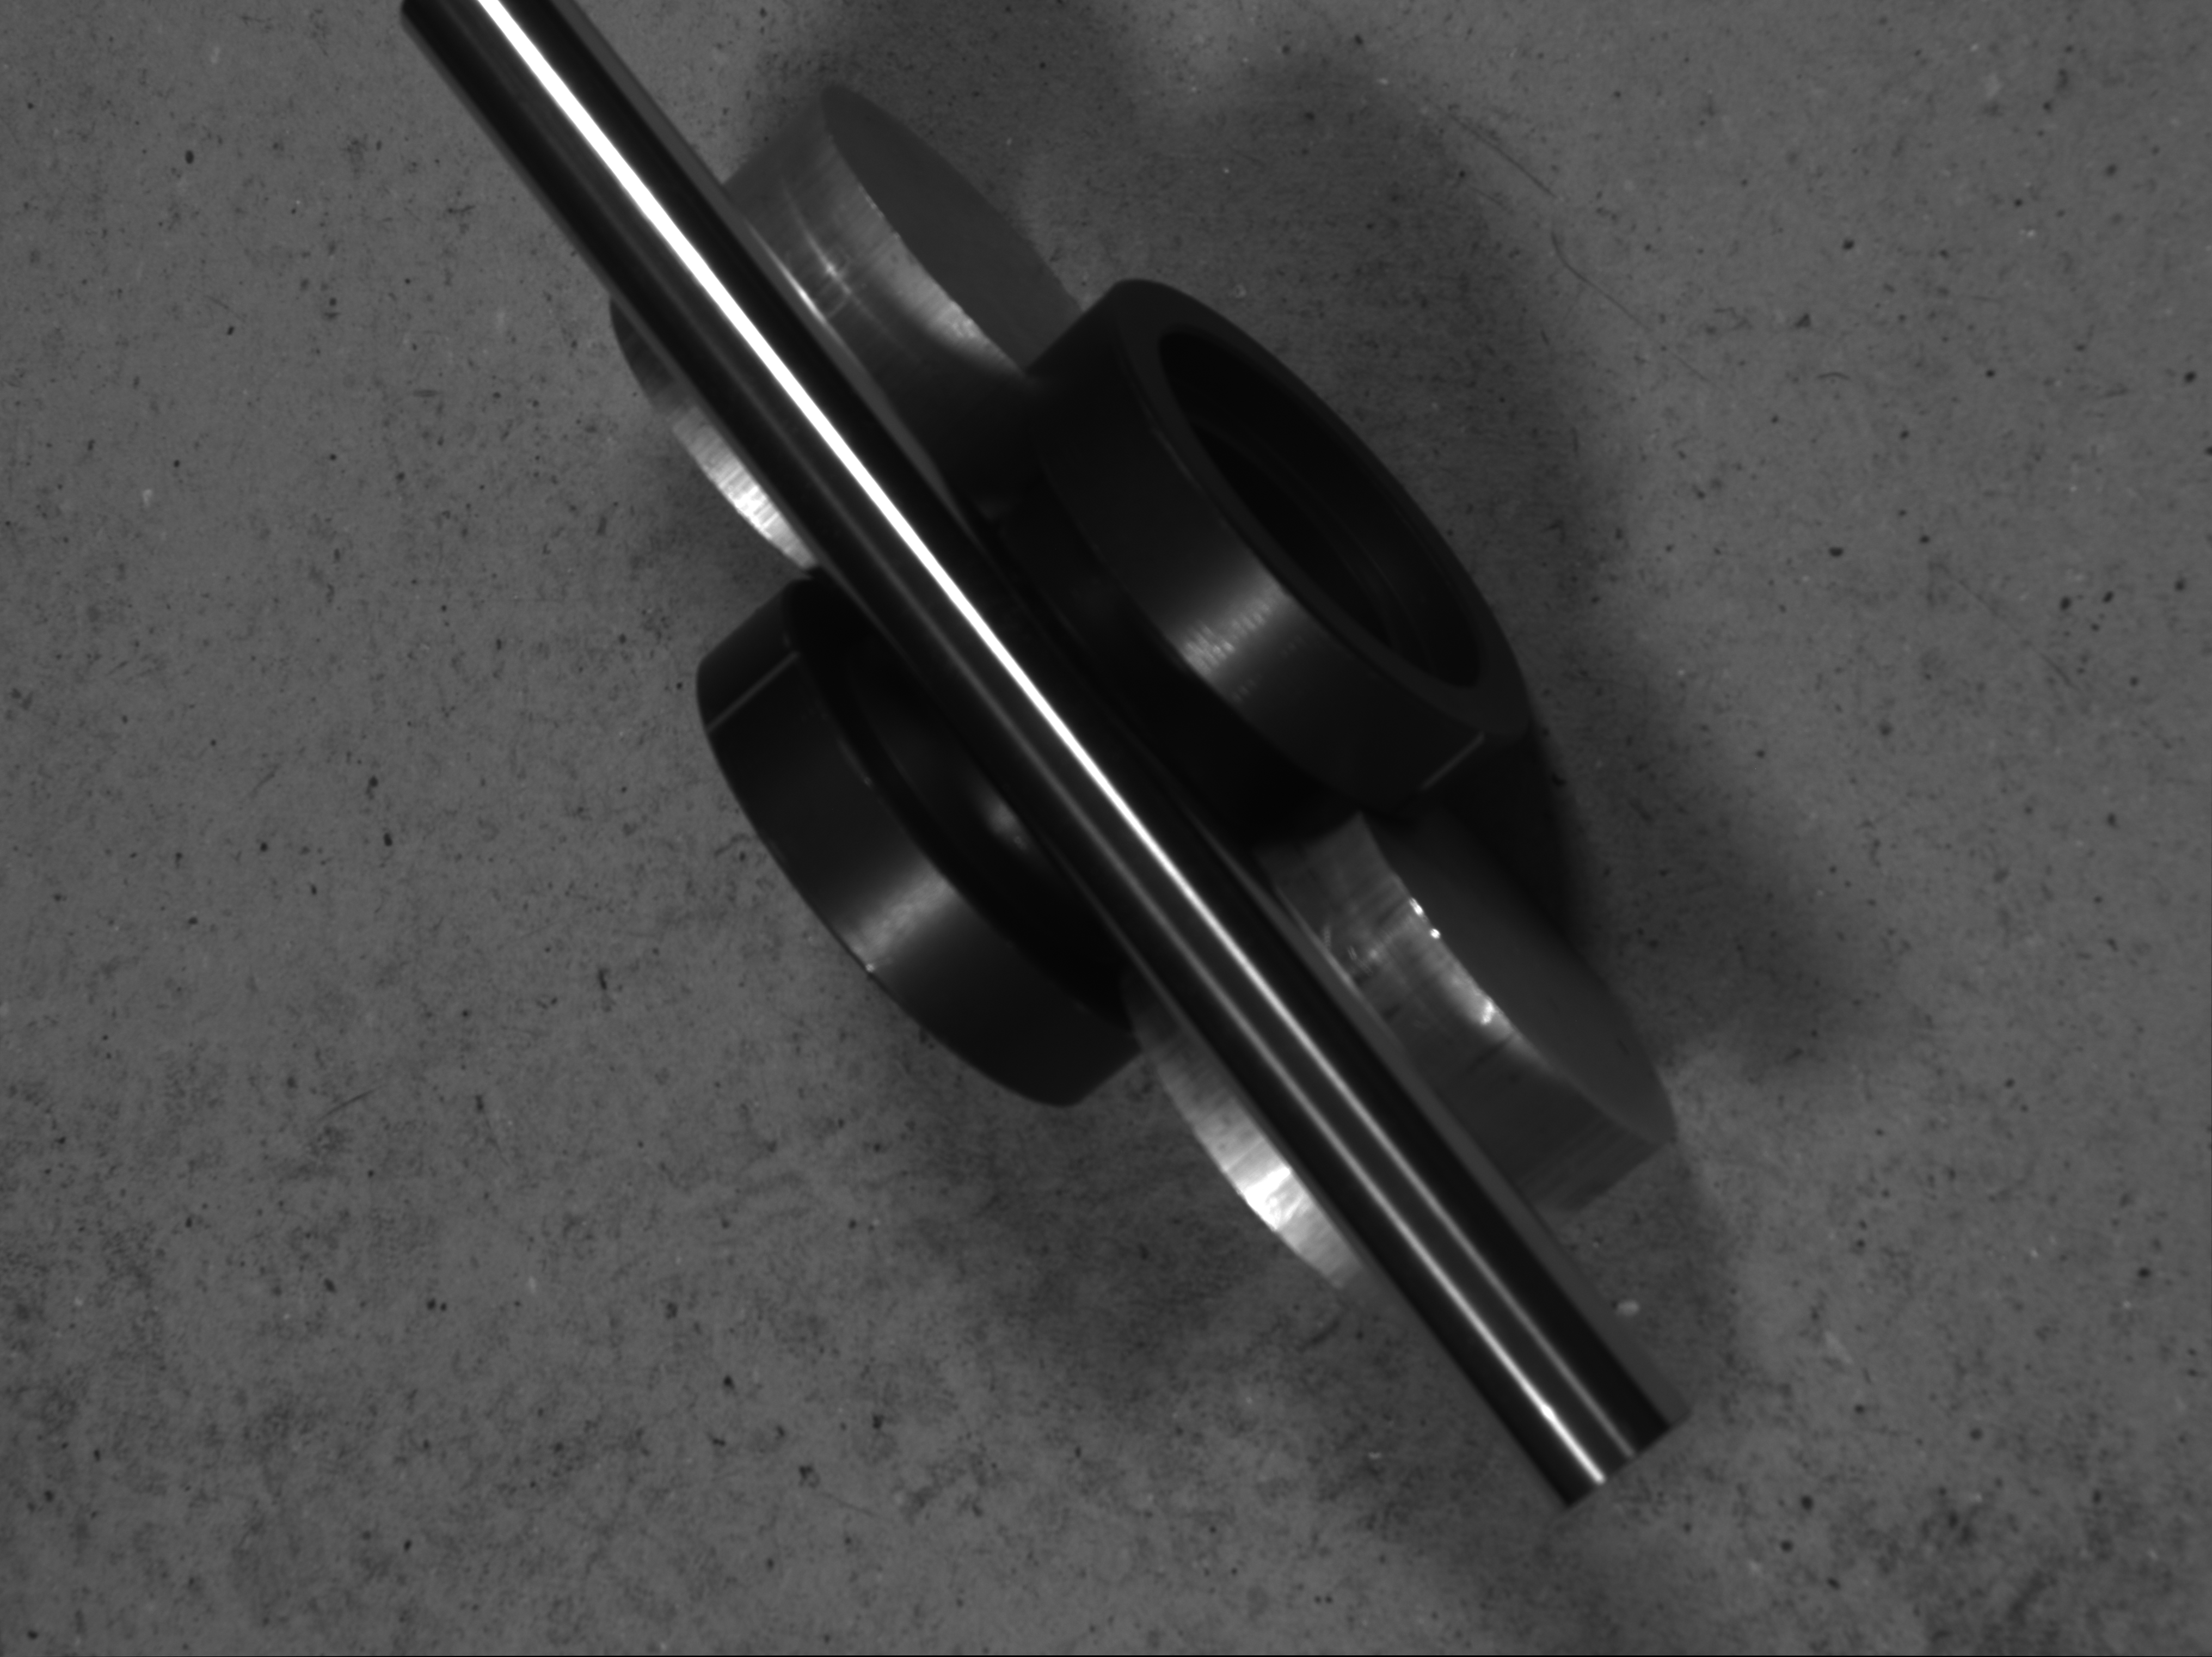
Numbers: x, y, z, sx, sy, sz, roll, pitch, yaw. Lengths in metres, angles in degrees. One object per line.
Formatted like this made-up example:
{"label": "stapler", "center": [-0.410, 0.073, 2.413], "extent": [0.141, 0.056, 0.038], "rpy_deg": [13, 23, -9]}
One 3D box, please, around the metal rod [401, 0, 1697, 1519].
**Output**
{"label": "metal rod", "center": [-0.014, -0.022, 0.565], "extent": [0.025, 0.025, 0.300], "rpy_deg": [-41, 77, 15]}

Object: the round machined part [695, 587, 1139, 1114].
{"label": "round machined part", "center": [-0.020, -0.003, 0.612], "extent": [0.042, 0.098, 0.098], "rpy_deg": [-40, 77, 11]}

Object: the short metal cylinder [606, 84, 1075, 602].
{"label": "short metal cylinder", "center": [-0.039, -0.081, 0.629], "extent": [0.050, 0.080, 0.080], "rpy_deg": [-41, 77, 15]}

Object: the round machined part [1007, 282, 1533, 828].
{"label": "round machined part", "center": [0.021, -0.039, 0.598], "extent": [0.042, 0.098, 0.098], "rpy_deg": [-42, 77, 20]}

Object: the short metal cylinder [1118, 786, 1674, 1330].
{"label": "short metal cylinder", "center": [0.047, 0.035, 0.598], "extent": [0.050, 0.080, 0.080], "rpy_deg": [-41, 77, 15]}
